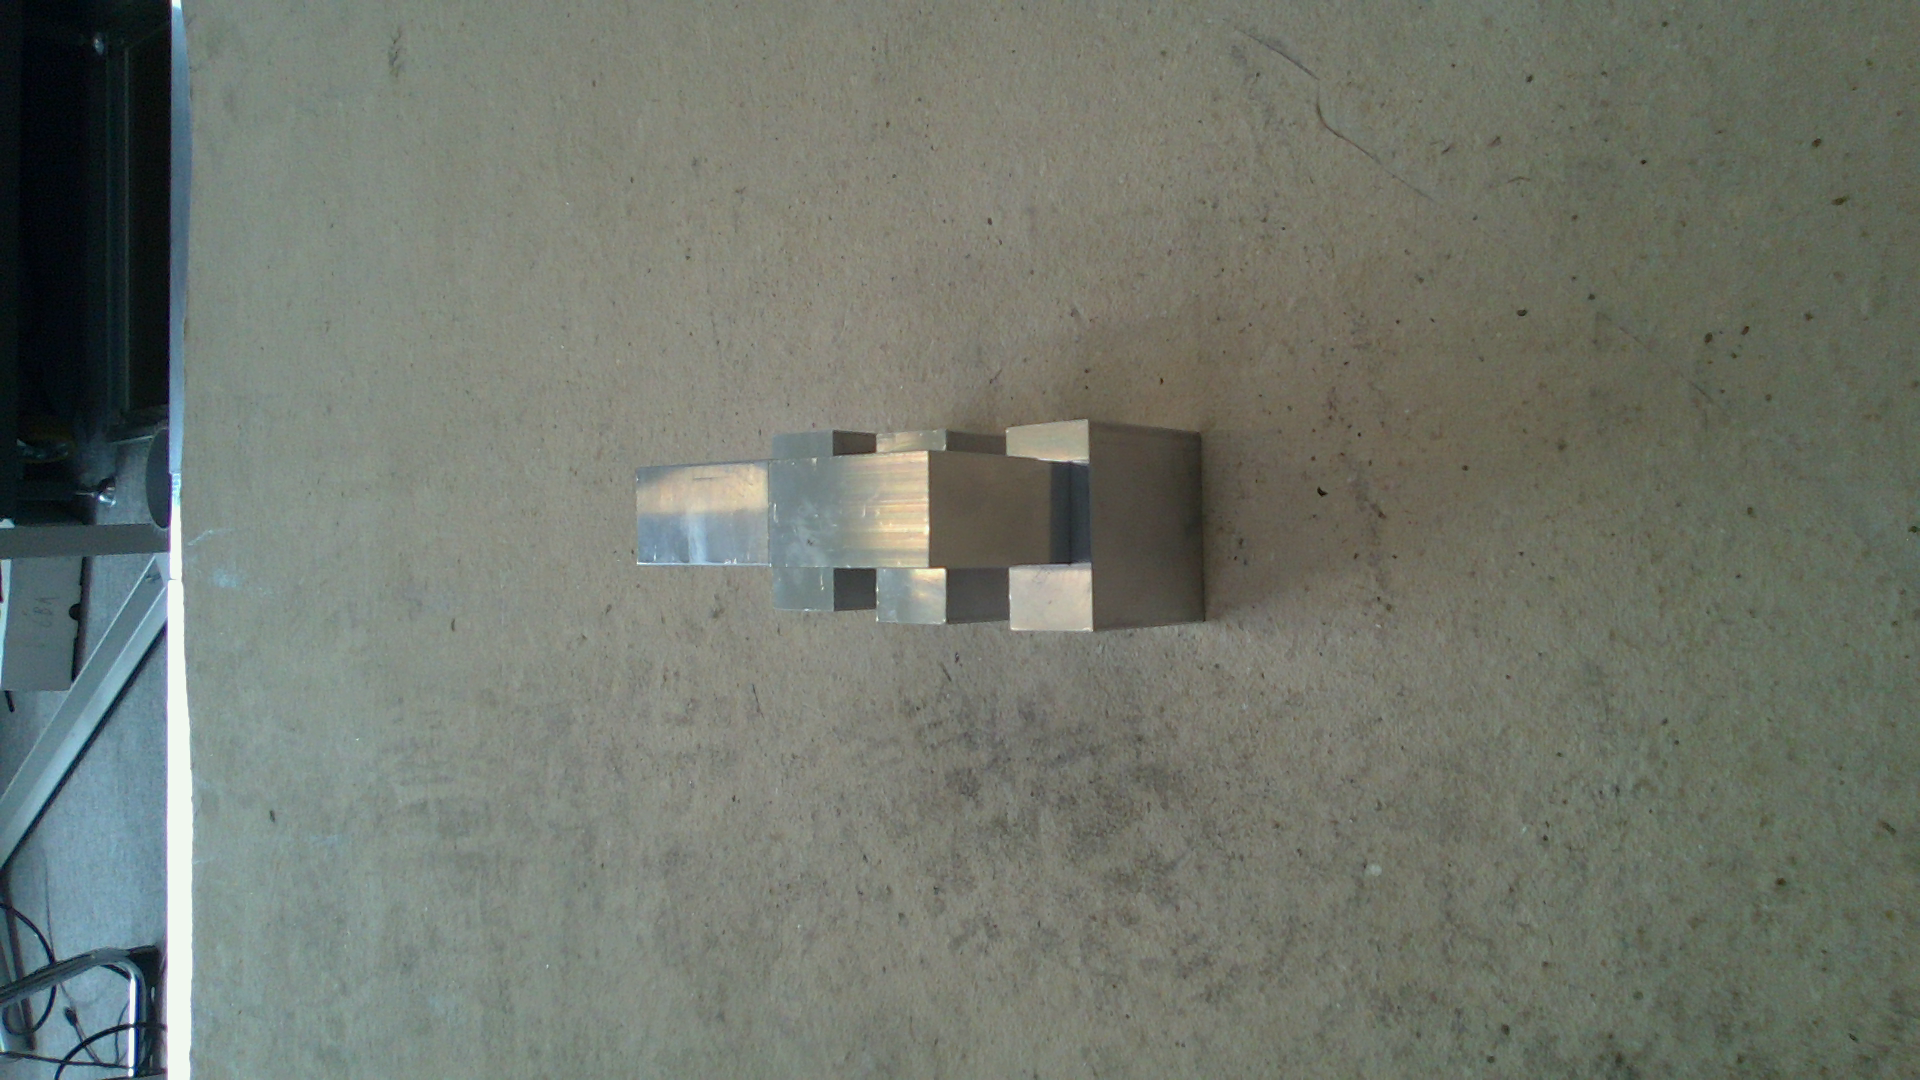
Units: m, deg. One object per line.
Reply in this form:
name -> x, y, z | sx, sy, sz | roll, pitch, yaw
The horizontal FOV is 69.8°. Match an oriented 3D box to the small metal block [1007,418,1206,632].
small metal block -> 0.038, -0.003, 0.348 | 0.025, 0.050, 0.050 | -2, 88, 41

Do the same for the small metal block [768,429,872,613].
small metal block -> -0.029, -0.005, 0.402 | 0.025, 0.050, 0.050 | -1, 89, 41

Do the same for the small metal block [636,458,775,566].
small metal block -> -0.047, -0.006, 0.354 | 0.050, 0.050, 0.025 | -1, 90, 40

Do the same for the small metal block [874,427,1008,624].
small metal block -> 0.003, -0.003, 0.377 | 0.025, 0.050, 0.050 | -2, 88, 41

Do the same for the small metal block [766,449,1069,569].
small metal block -> -0.010, -0.006, 0.321 | 0.050, 0.050, 0.025 | -1, 90, 40
